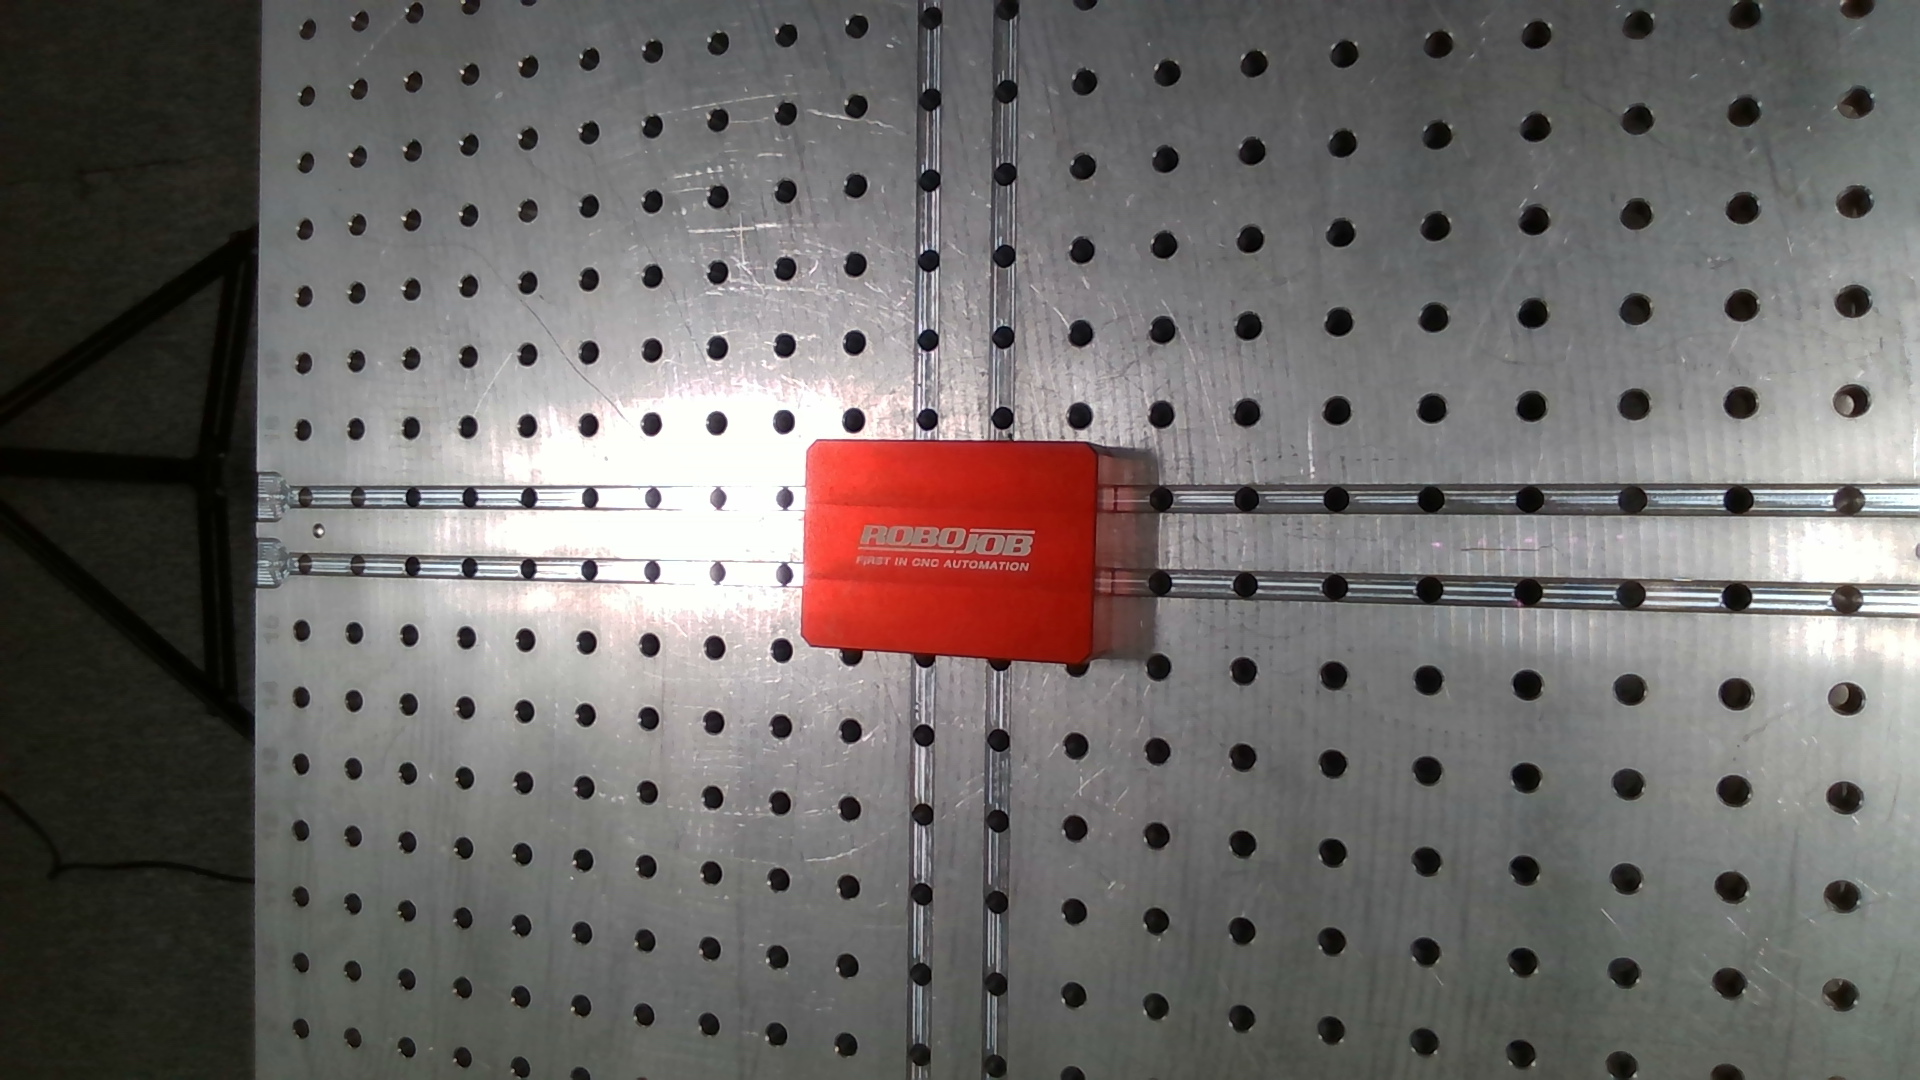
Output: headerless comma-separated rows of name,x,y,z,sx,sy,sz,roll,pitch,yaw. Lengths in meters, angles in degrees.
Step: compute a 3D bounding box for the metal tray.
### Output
metal tray,-0.002,0.003,0.586,0.130,0.030,0.090,2,91,20
